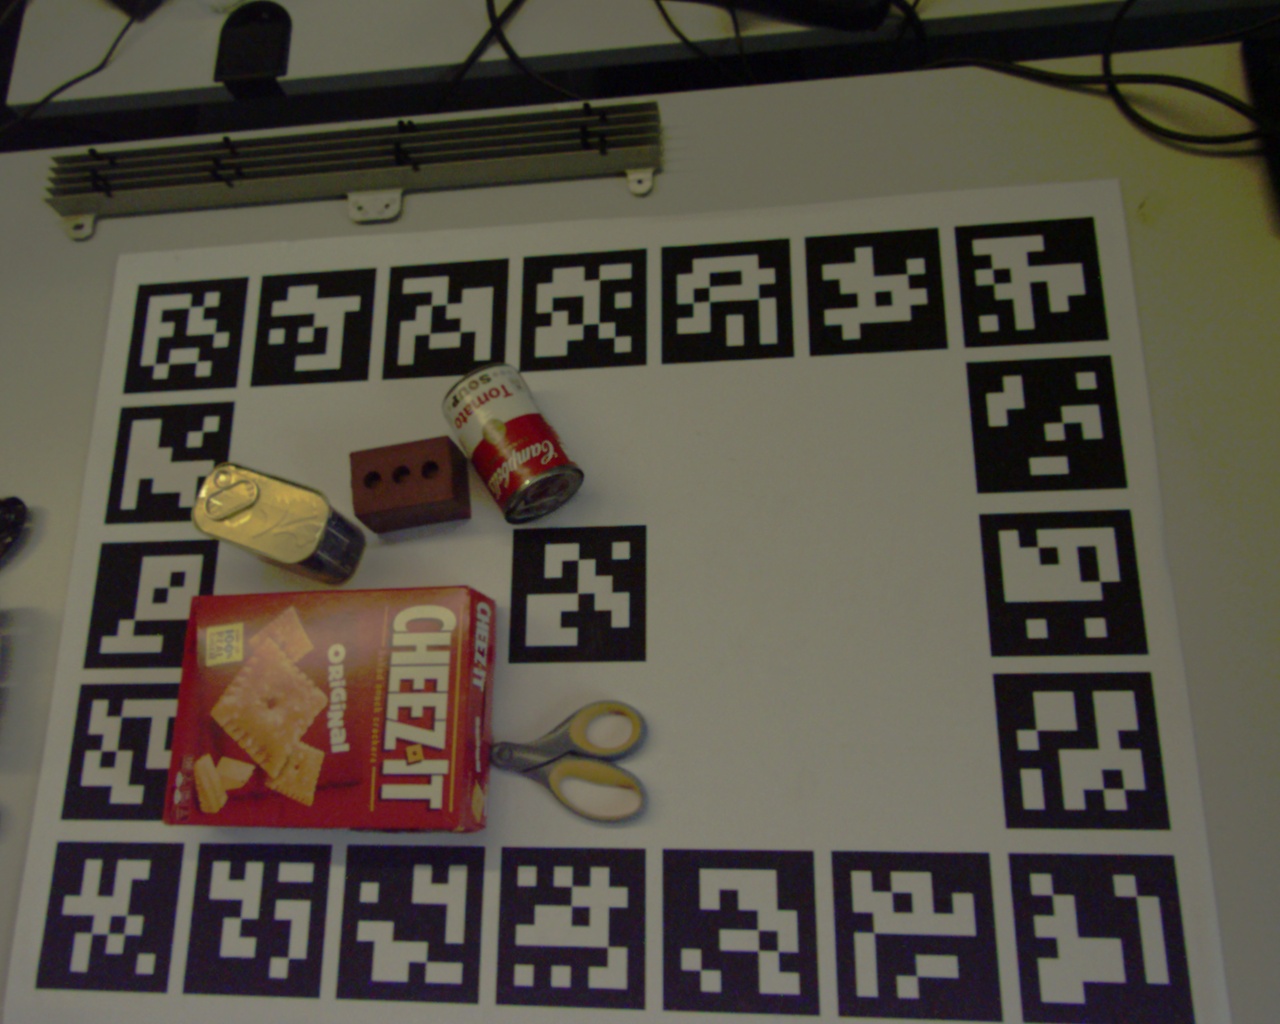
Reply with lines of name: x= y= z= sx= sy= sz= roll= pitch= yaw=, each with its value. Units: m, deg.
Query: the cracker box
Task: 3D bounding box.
cracker box: x=-0.226 y=0.155 z=0.829 sx=0.215 sy=0.071 sz=0.164 roll=-8 pitch=73 yaw=11

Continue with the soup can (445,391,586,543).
soup can: x=-0.098 y=-0.036 z=0.884 sx=0.068 sy=0.067 sz=0.103 roll=-38 pitch=68 yaw=-2

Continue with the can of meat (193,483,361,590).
can of meat: x=-0.276 y=0.022 z=0.880 sx=0.102 sy=0.083 sz=0.058 roll=12 pitch=78 yaw=11

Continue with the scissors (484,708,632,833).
scissors: x=-0.108 y=0.193 z=0.831 sx=0.203 sy=0.016 sz=0.088 roll=-6 pitch=75 yaw=8

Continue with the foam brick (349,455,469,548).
foam brick: x=-0.179 y=-0.007 z=0.891 sx=0.078 sy=0.051 sz=0.053 roll=-12 pitch=75 yaw=6
